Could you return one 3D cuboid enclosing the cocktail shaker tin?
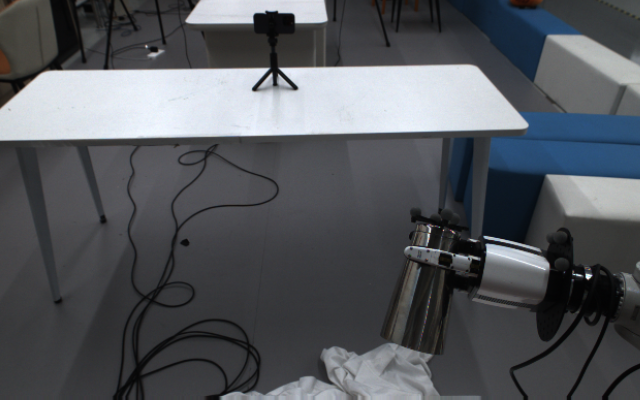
[{"bbox_3d":[0.154,0.121,0.703,0.093,0.170,0.093,14,-5,1],"label":"cocktail shaker tin"}]
